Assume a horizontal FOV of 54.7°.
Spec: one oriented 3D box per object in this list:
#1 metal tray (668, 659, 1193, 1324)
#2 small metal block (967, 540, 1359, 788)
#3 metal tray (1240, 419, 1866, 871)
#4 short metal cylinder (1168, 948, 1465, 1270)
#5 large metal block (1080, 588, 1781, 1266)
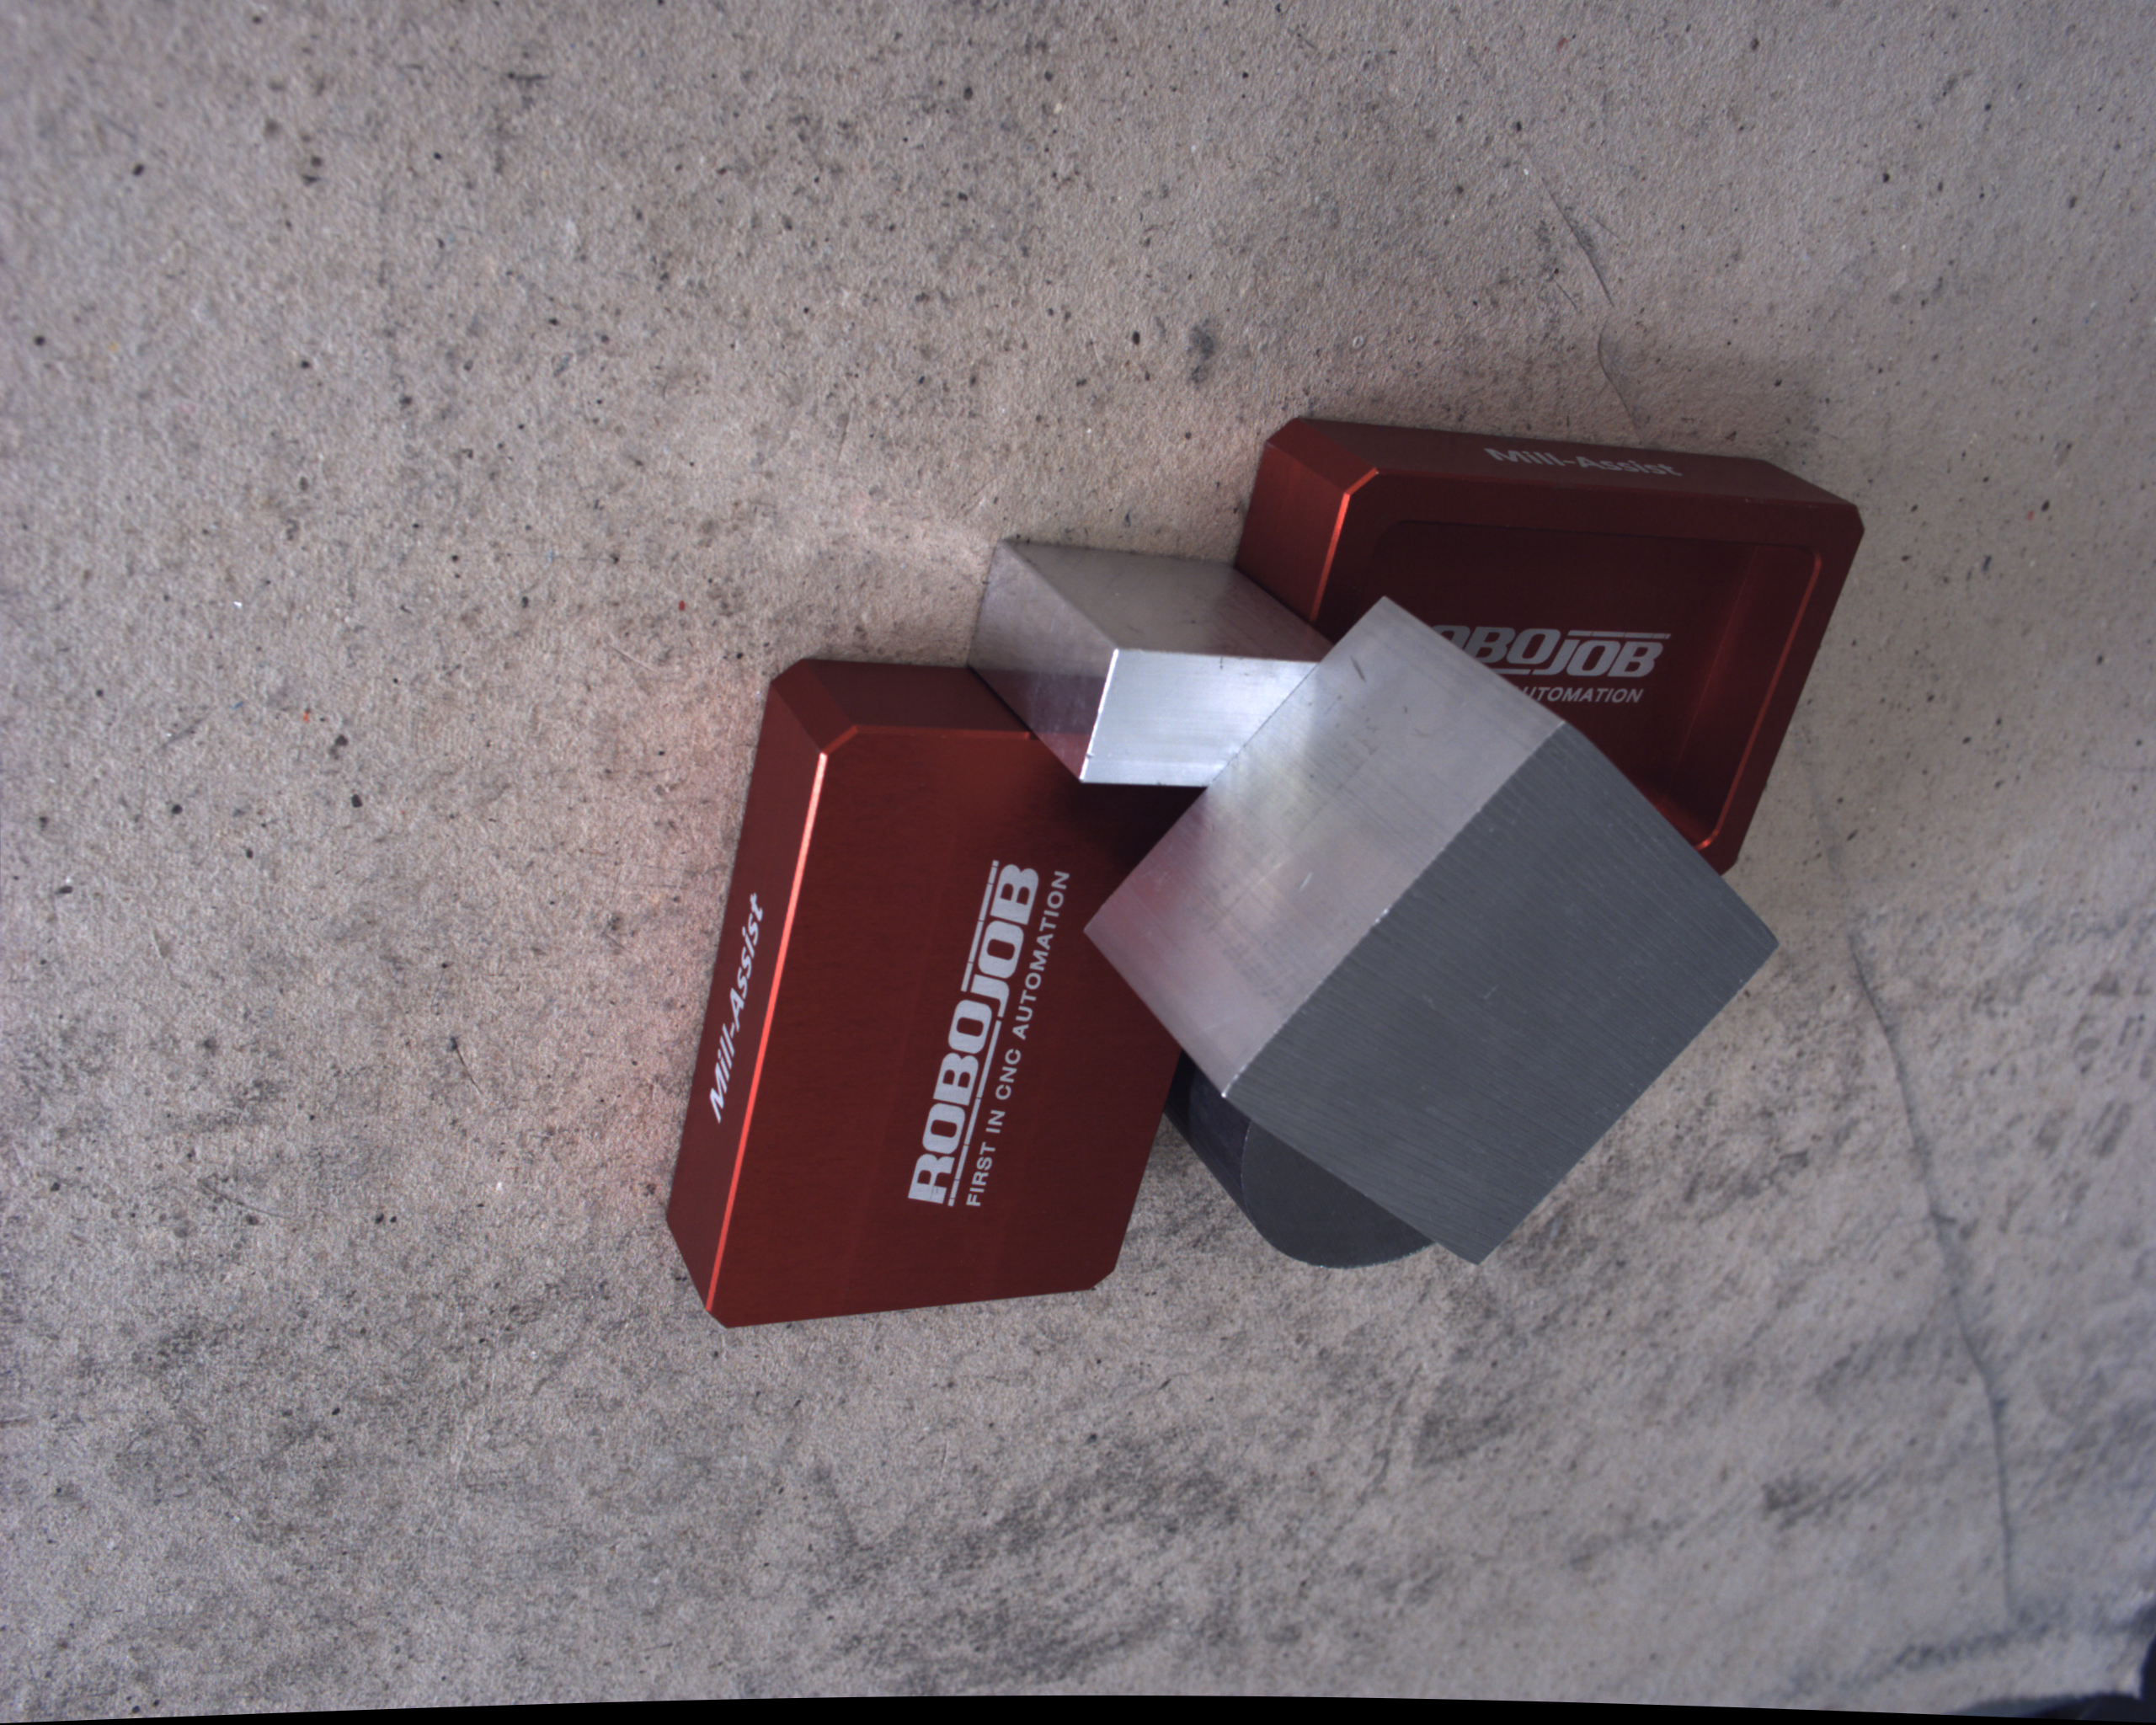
[{"bbox_3d":[-0.024,0.027,0.410,0.091,0.030,0.129,1,118,-29],"label":"metal tray"},{"bbox_3d":[0.015,-0.036,0.378,0.050,0.050,0.025,1,118,-29],"label":"small metal block"},{"bbox_3d":[0.092,-0.040,0.431,0.131,0.030,0.089,-2,119,-28],"label":"metal tray"},{"bbox_3d":[0.059,0.040,0.449,0.081,0.050,0.079,-13,124,-20],"label":"short metal cylinder"},{"bbox_3d":[0.063,0.013,0.368,0.080,0.050,0.080,-48,129,6],"label":"large metal block"}]
